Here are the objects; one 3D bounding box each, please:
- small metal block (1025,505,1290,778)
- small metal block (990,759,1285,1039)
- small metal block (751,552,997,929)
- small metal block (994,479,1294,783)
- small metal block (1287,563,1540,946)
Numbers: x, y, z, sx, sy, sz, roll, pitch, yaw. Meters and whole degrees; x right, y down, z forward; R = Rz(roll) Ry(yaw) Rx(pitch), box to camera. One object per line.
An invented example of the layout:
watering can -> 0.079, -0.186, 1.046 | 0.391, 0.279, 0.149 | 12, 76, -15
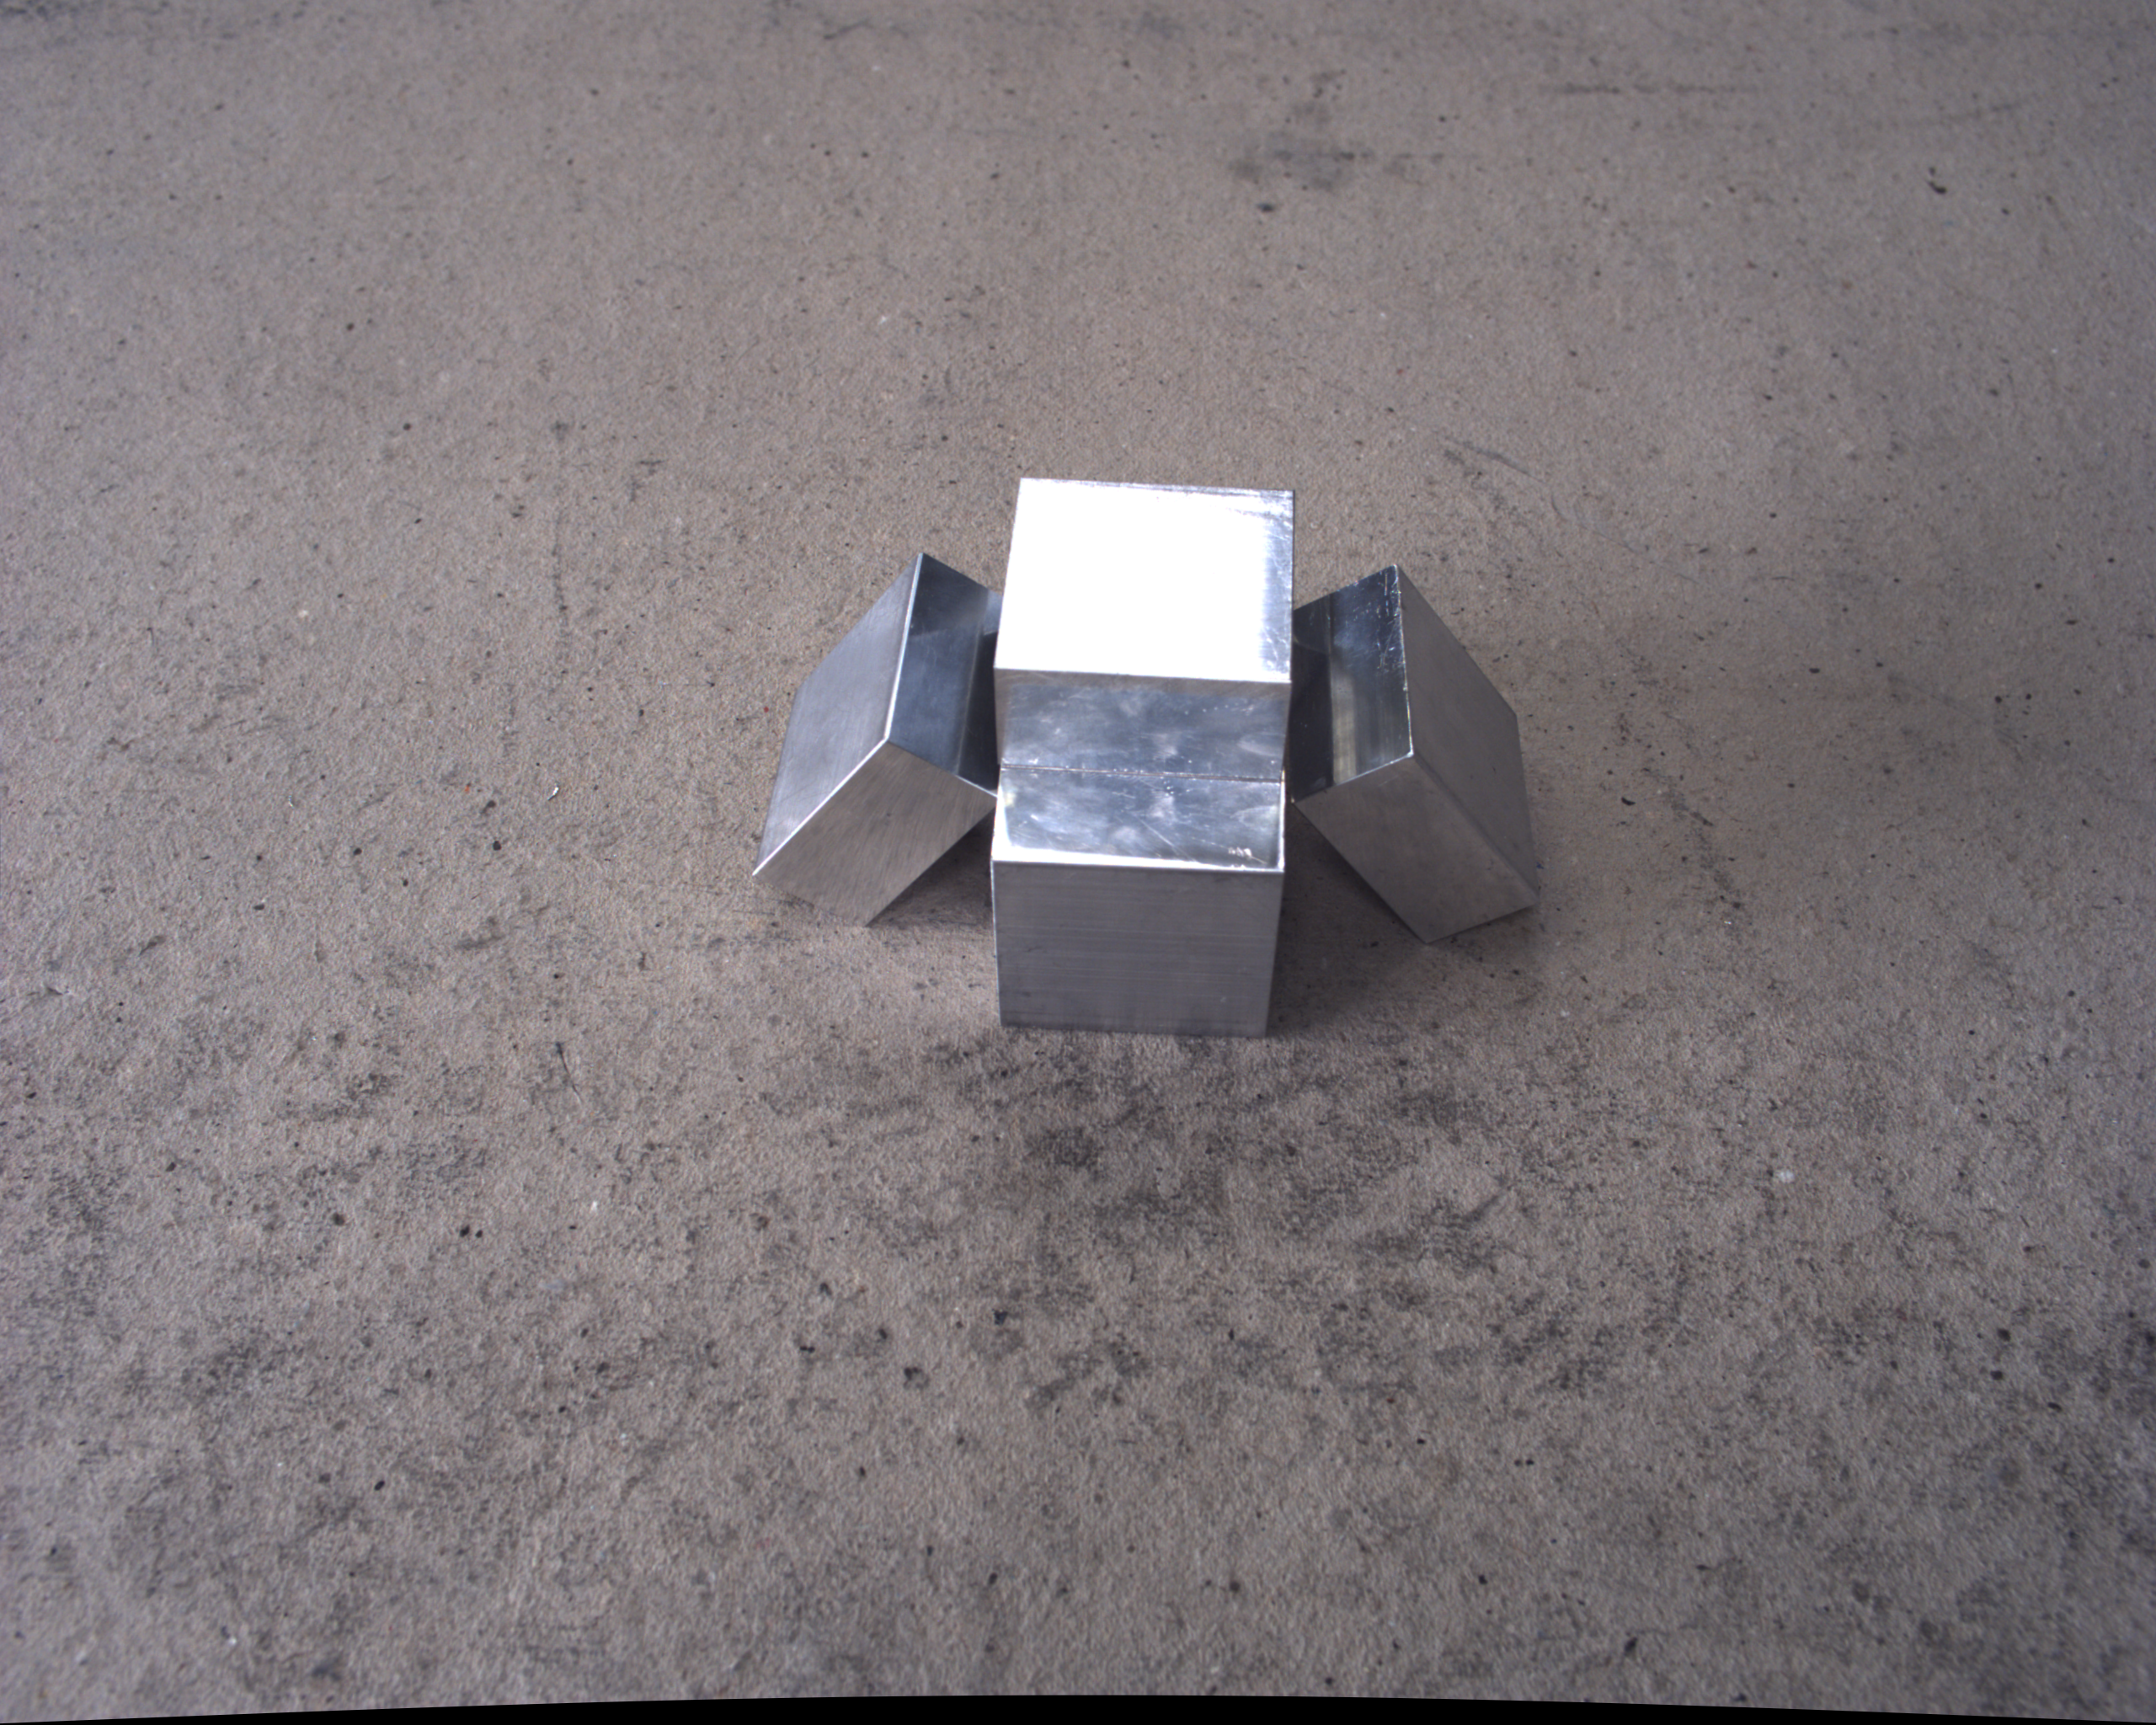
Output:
small metal block -> 0.016, -0.044, 0.426 | 0.050, 0.050, 0.025 | 4, 51, 3
small metal block -> 0.011, 0.007, 0.383 | 0.050, 0.050, 0.025 | 2, 51, 2
small metal block -> -0.036, -0.023, 0.405 | 0.025, 0.050, 0.050 | 27, 46, -24
small metal block -> 0.013, -0.042, 0.376 | 0.050, 0.025, 0.050 | 3, 50, 3
small metal block -> 0.064, -0.020, 0.403 | 0.025, 0.050, 0.050 | -23, 44, 28
